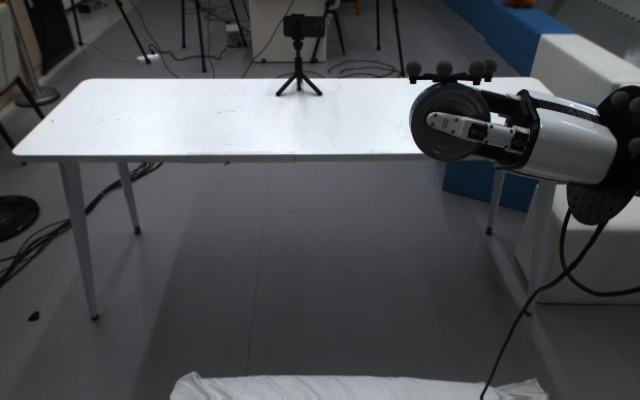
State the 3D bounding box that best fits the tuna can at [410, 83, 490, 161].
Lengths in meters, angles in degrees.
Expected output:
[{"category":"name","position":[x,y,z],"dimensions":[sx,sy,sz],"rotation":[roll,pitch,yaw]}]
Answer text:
[{"category":"tuna can","position":[0.146,-0.090,0.546],"dimensions":[0.085,0.085,0.034],"rotation":[4,18,3]}]
